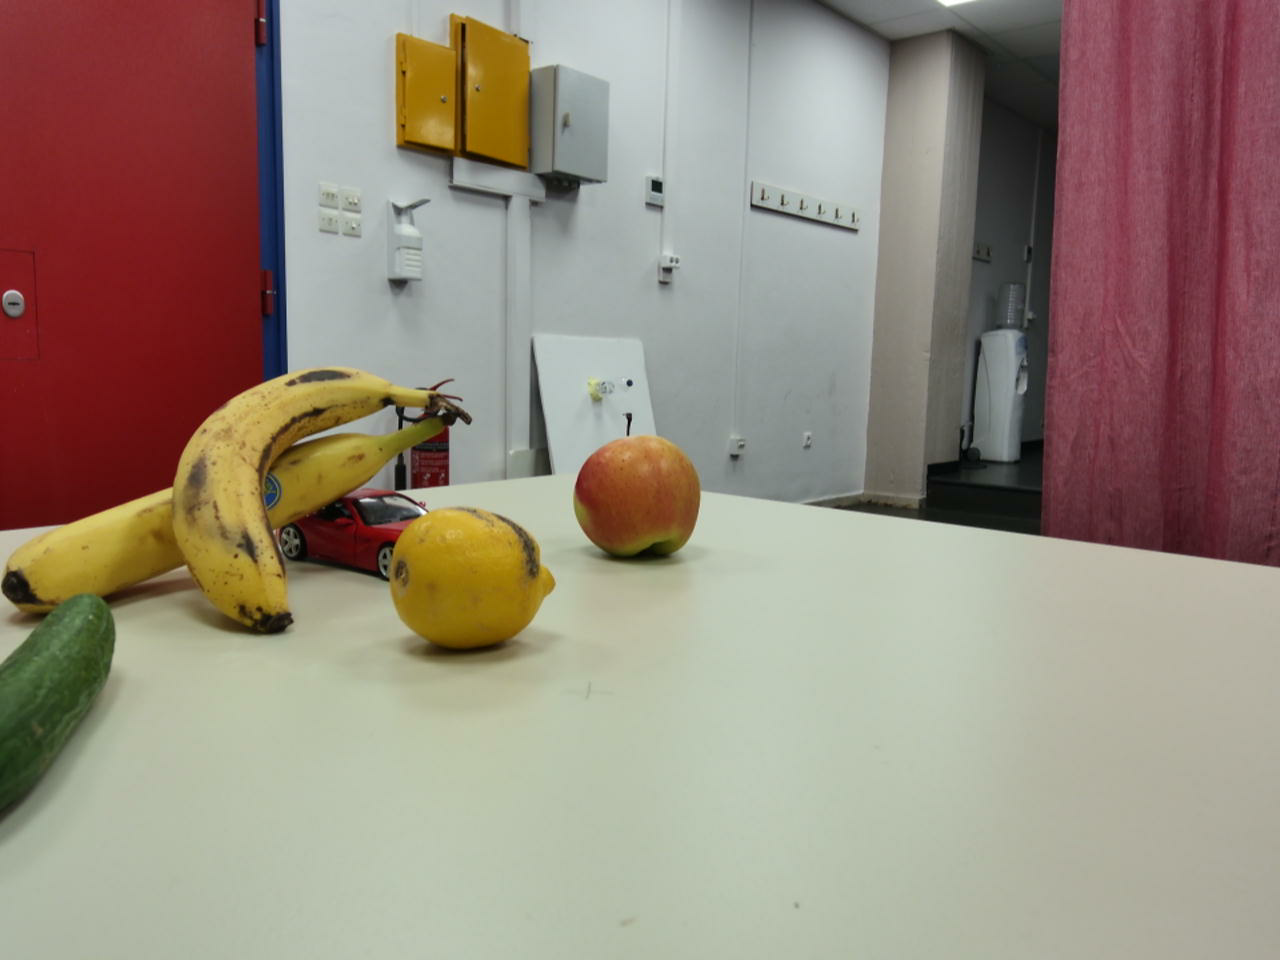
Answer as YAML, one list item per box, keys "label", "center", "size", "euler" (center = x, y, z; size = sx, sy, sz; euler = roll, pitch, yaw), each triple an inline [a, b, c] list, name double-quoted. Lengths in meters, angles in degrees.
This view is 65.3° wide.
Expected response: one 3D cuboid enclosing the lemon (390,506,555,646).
- label: "lemon"
  center: [-0.070, 0.038, 0.403]
  size: [0.058, 0.056, 0.061]
  euler: [4, 6, 32]
